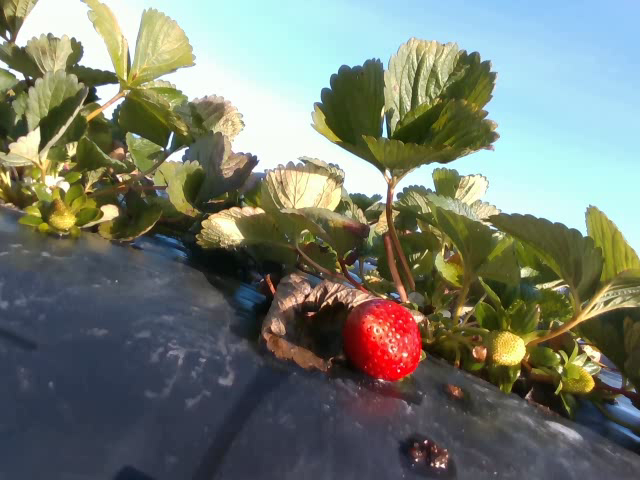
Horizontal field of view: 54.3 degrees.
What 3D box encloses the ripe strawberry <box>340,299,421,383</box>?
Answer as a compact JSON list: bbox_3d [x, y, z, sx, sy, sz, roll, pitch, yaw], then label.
[{"bbox_3d":[0.022,0.038,0.236,0.047,0.037,0.054,38,3,27],"label":"ripe strawberry"}]
